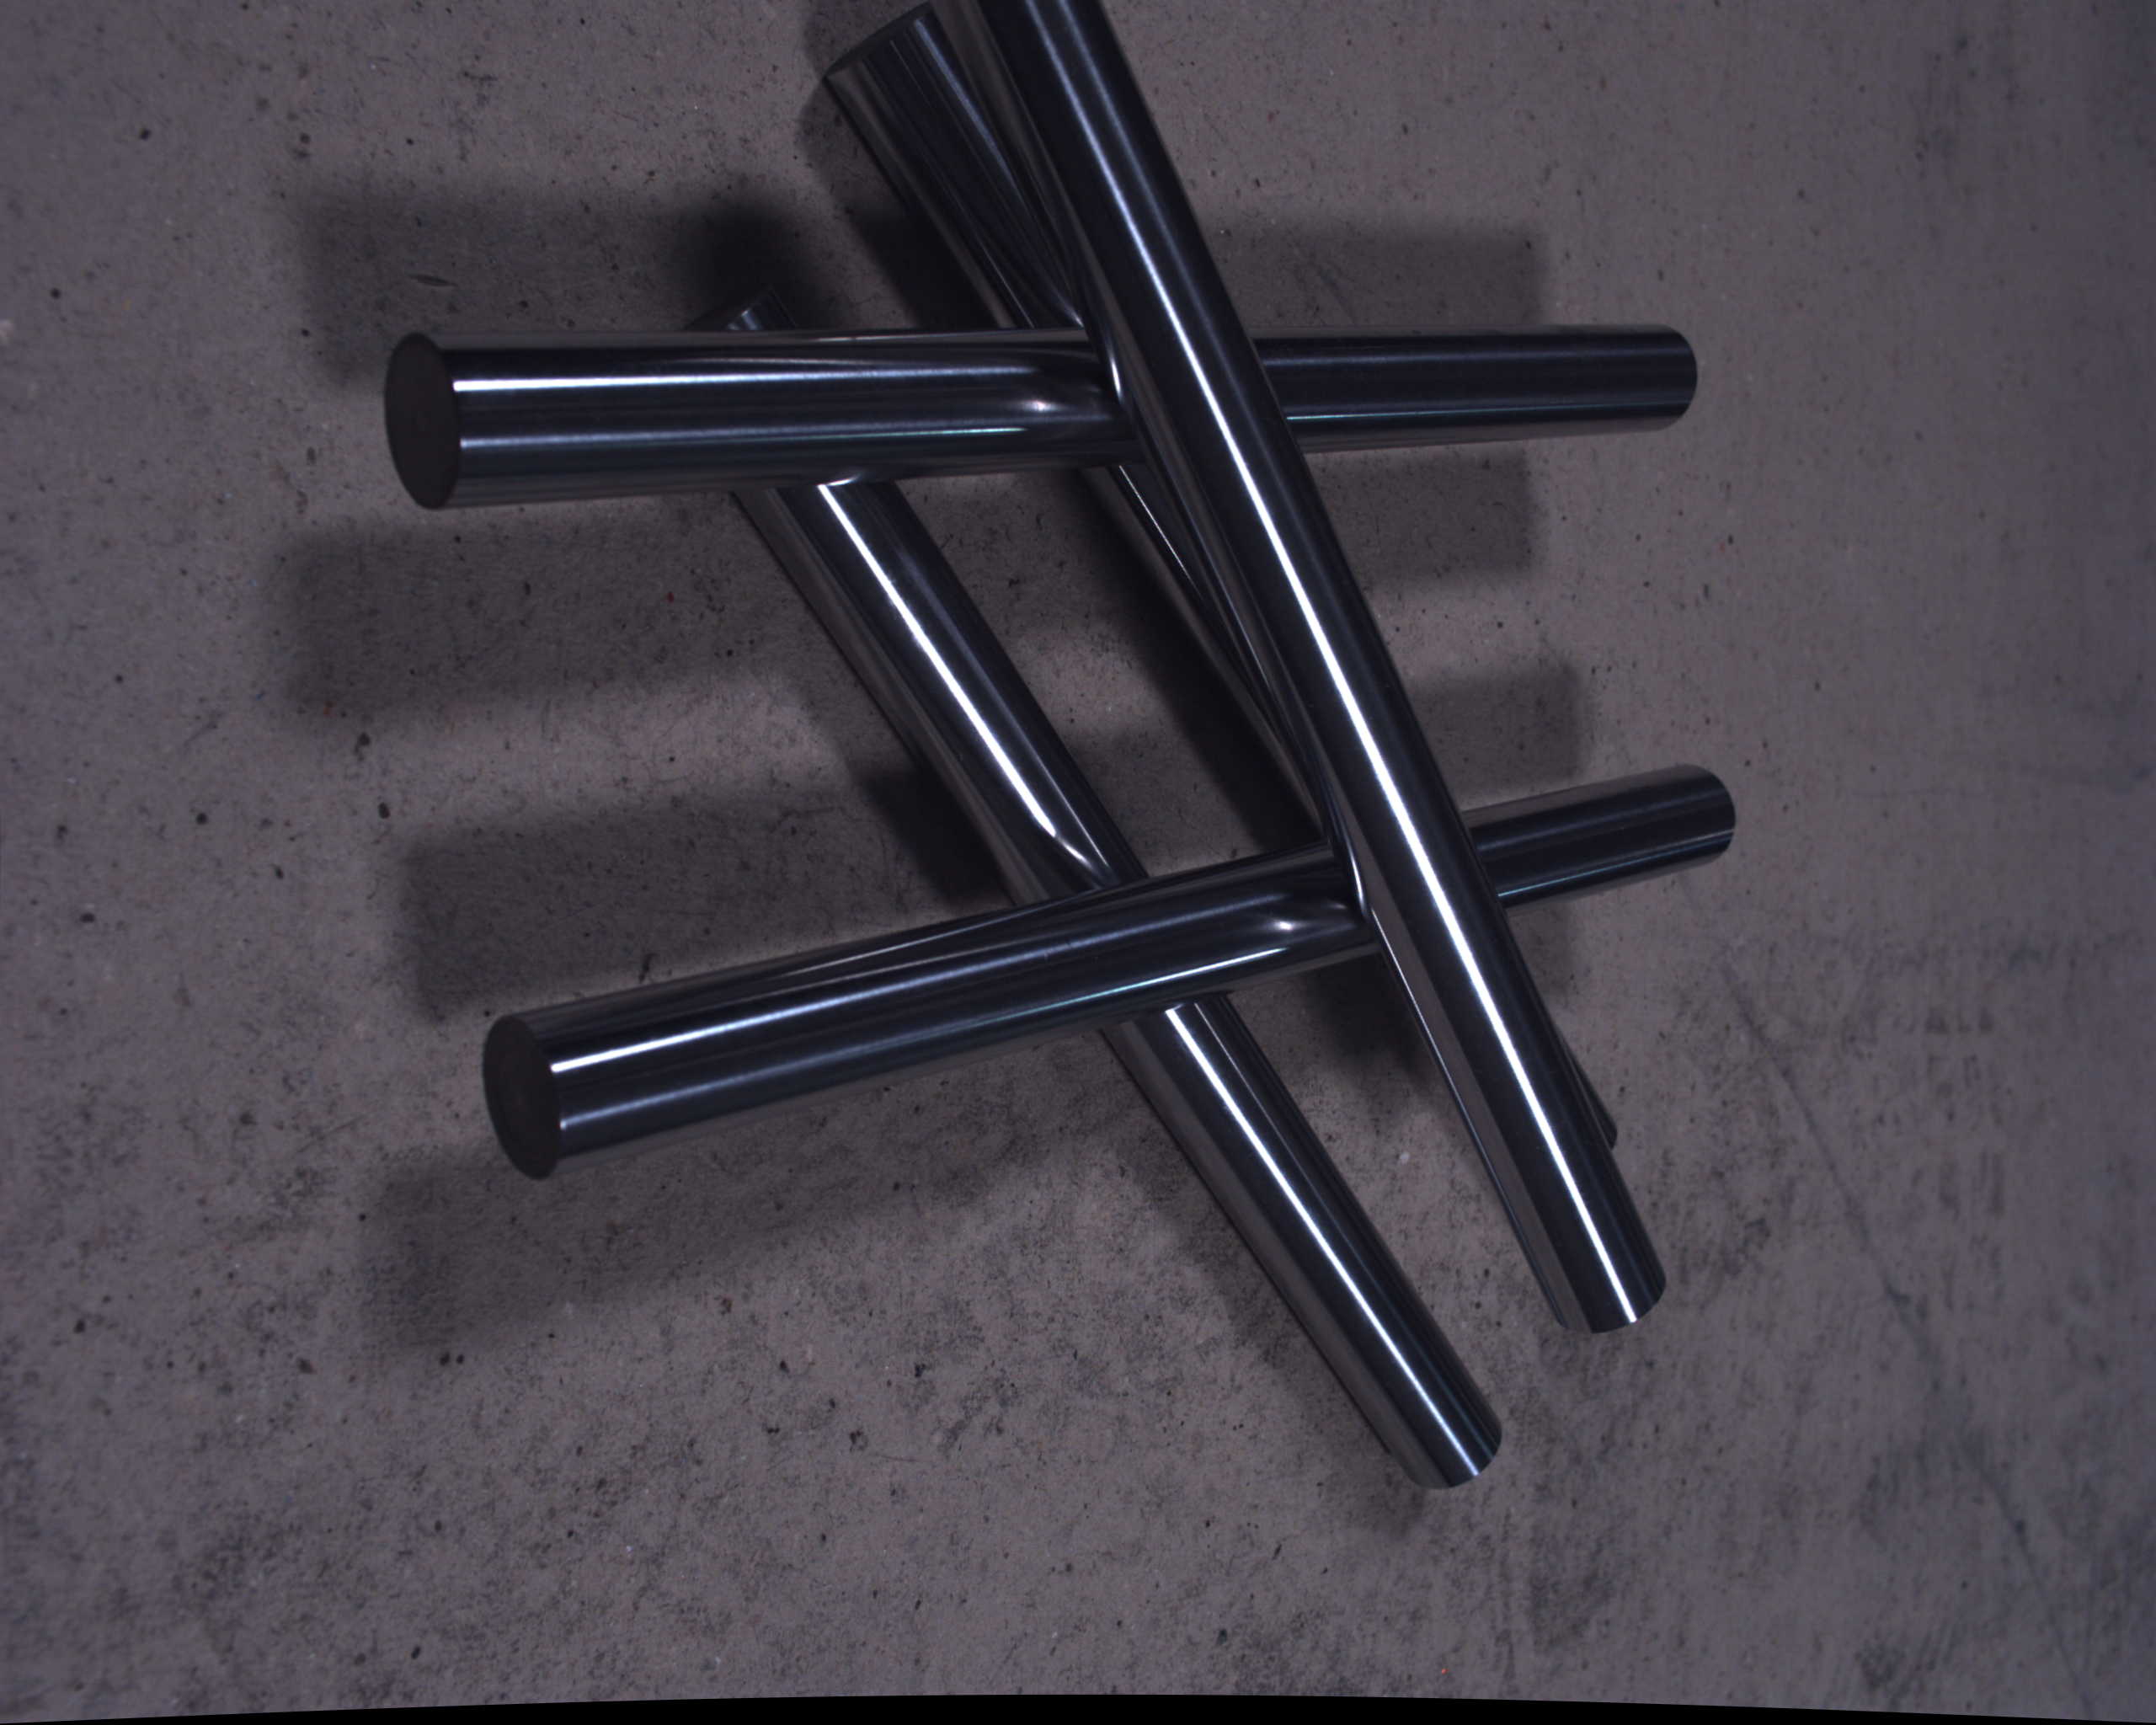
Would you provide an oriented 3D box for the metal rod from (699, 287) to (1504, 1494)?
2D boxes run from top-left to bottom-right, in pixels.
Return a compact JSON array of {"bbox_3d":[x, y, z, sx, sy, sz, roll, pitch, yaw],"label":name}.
[{"bbox_3d":[0.012,0.022,0.418,0.025,0.025,0.299,-49,119,-29],"label":"metal rod"}]

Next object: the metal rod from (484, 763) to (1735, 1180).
[{"bbox_3d":[0.032,0.012,0.403,0.302,0.025,0.025,-11,98,-40],"label":"metal rod"}]

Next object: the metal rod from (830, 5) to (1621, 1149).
[{"bbox_3d":[0.043,-0.040,0.444,0.025,0.025,0.299,-51,120,-28],"label":"metal rod"}]

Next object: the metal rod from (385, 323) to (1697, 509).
[{"bbox_3d":[0.020,-0.088,0.393,0.302,0.025,0.025,-13,98,-40],"label":"metal rod"}]

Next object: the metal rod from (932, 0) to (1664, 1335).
[{"bbox_3d":[0.046,-0.032,0.382,0.025,0.025,0.299,-42,116,-32],"label":"metal rod"}]
